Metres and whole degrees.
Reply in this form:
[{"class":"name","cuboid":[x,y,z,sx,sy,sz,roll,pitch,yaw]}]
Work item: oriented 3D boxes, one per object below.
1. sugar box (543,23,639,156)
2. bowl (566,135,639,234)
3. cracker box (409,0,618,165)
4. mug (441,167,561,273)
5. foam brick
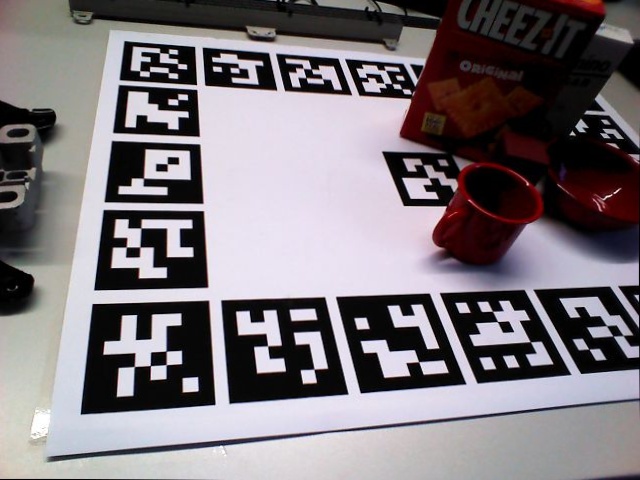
[{"class":"sugar box","cuboid":[0.327,-0.202,0.687,0.093,0.177,0.045,16,47,1]},{"class":"bowl","cuboid":[0.368,-0.059,0.638,0.162,0.055,0.160,7,48,-8]},{"class":"cracker box","cuboid":[0.225,-0.203,0.640,0.164,0.215,0.071,22,45,6]},{"class":"mug","cuboid":[0.181,-0.017,0.546,0.117,0.082,0.093,-8,43,-18]},{"class":"foam brick","cuboid":[0.243,-0.080,0.632,0.053,0.078,0.051,11,46,-3]}]
